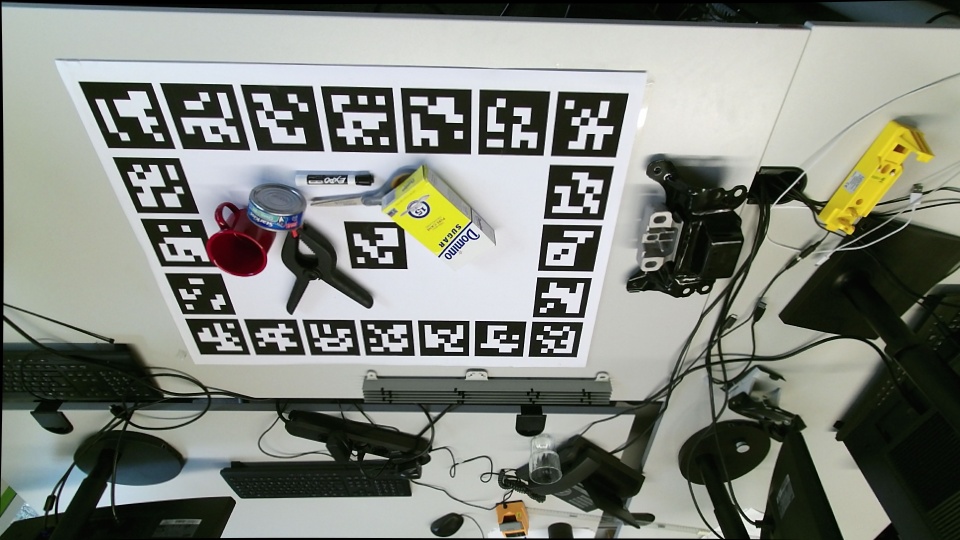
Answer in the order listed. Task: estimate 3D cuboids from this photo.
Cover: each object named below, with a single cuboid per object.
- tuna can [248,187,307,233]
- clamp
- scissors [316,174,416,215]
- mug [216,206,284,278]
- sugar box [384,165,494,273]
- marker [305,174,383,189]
[{"bbox_3d":[-0.319,-0.096,0.847,0.086,0.085,0.034,15,124,-11],"label":"tuna can"},{"bbox_3d":[-0.291,0.001,0.960,0.166,0.036,0.203,-8,125,5],"label":"clamp"},{"bbox_3d":[-0.171,-0.106,0.878,0.203,0.016,0.088,-7,130,7],"label":"scissors"},{"bbox_3d":[-0.380,-0.056,0.881,0.093,0.081,0.117,-22,127,15],"label":"mug"},{"bbox_3d":[-0.064,-0.078,0.881,0.093,0.045,0.177,-30,127,20],"label":"sugar box"},{"bbox_3d":[-0.216,-0.142,0.855,0.121,0.019,0.019,-3,125,1],"label":"marker"}]
